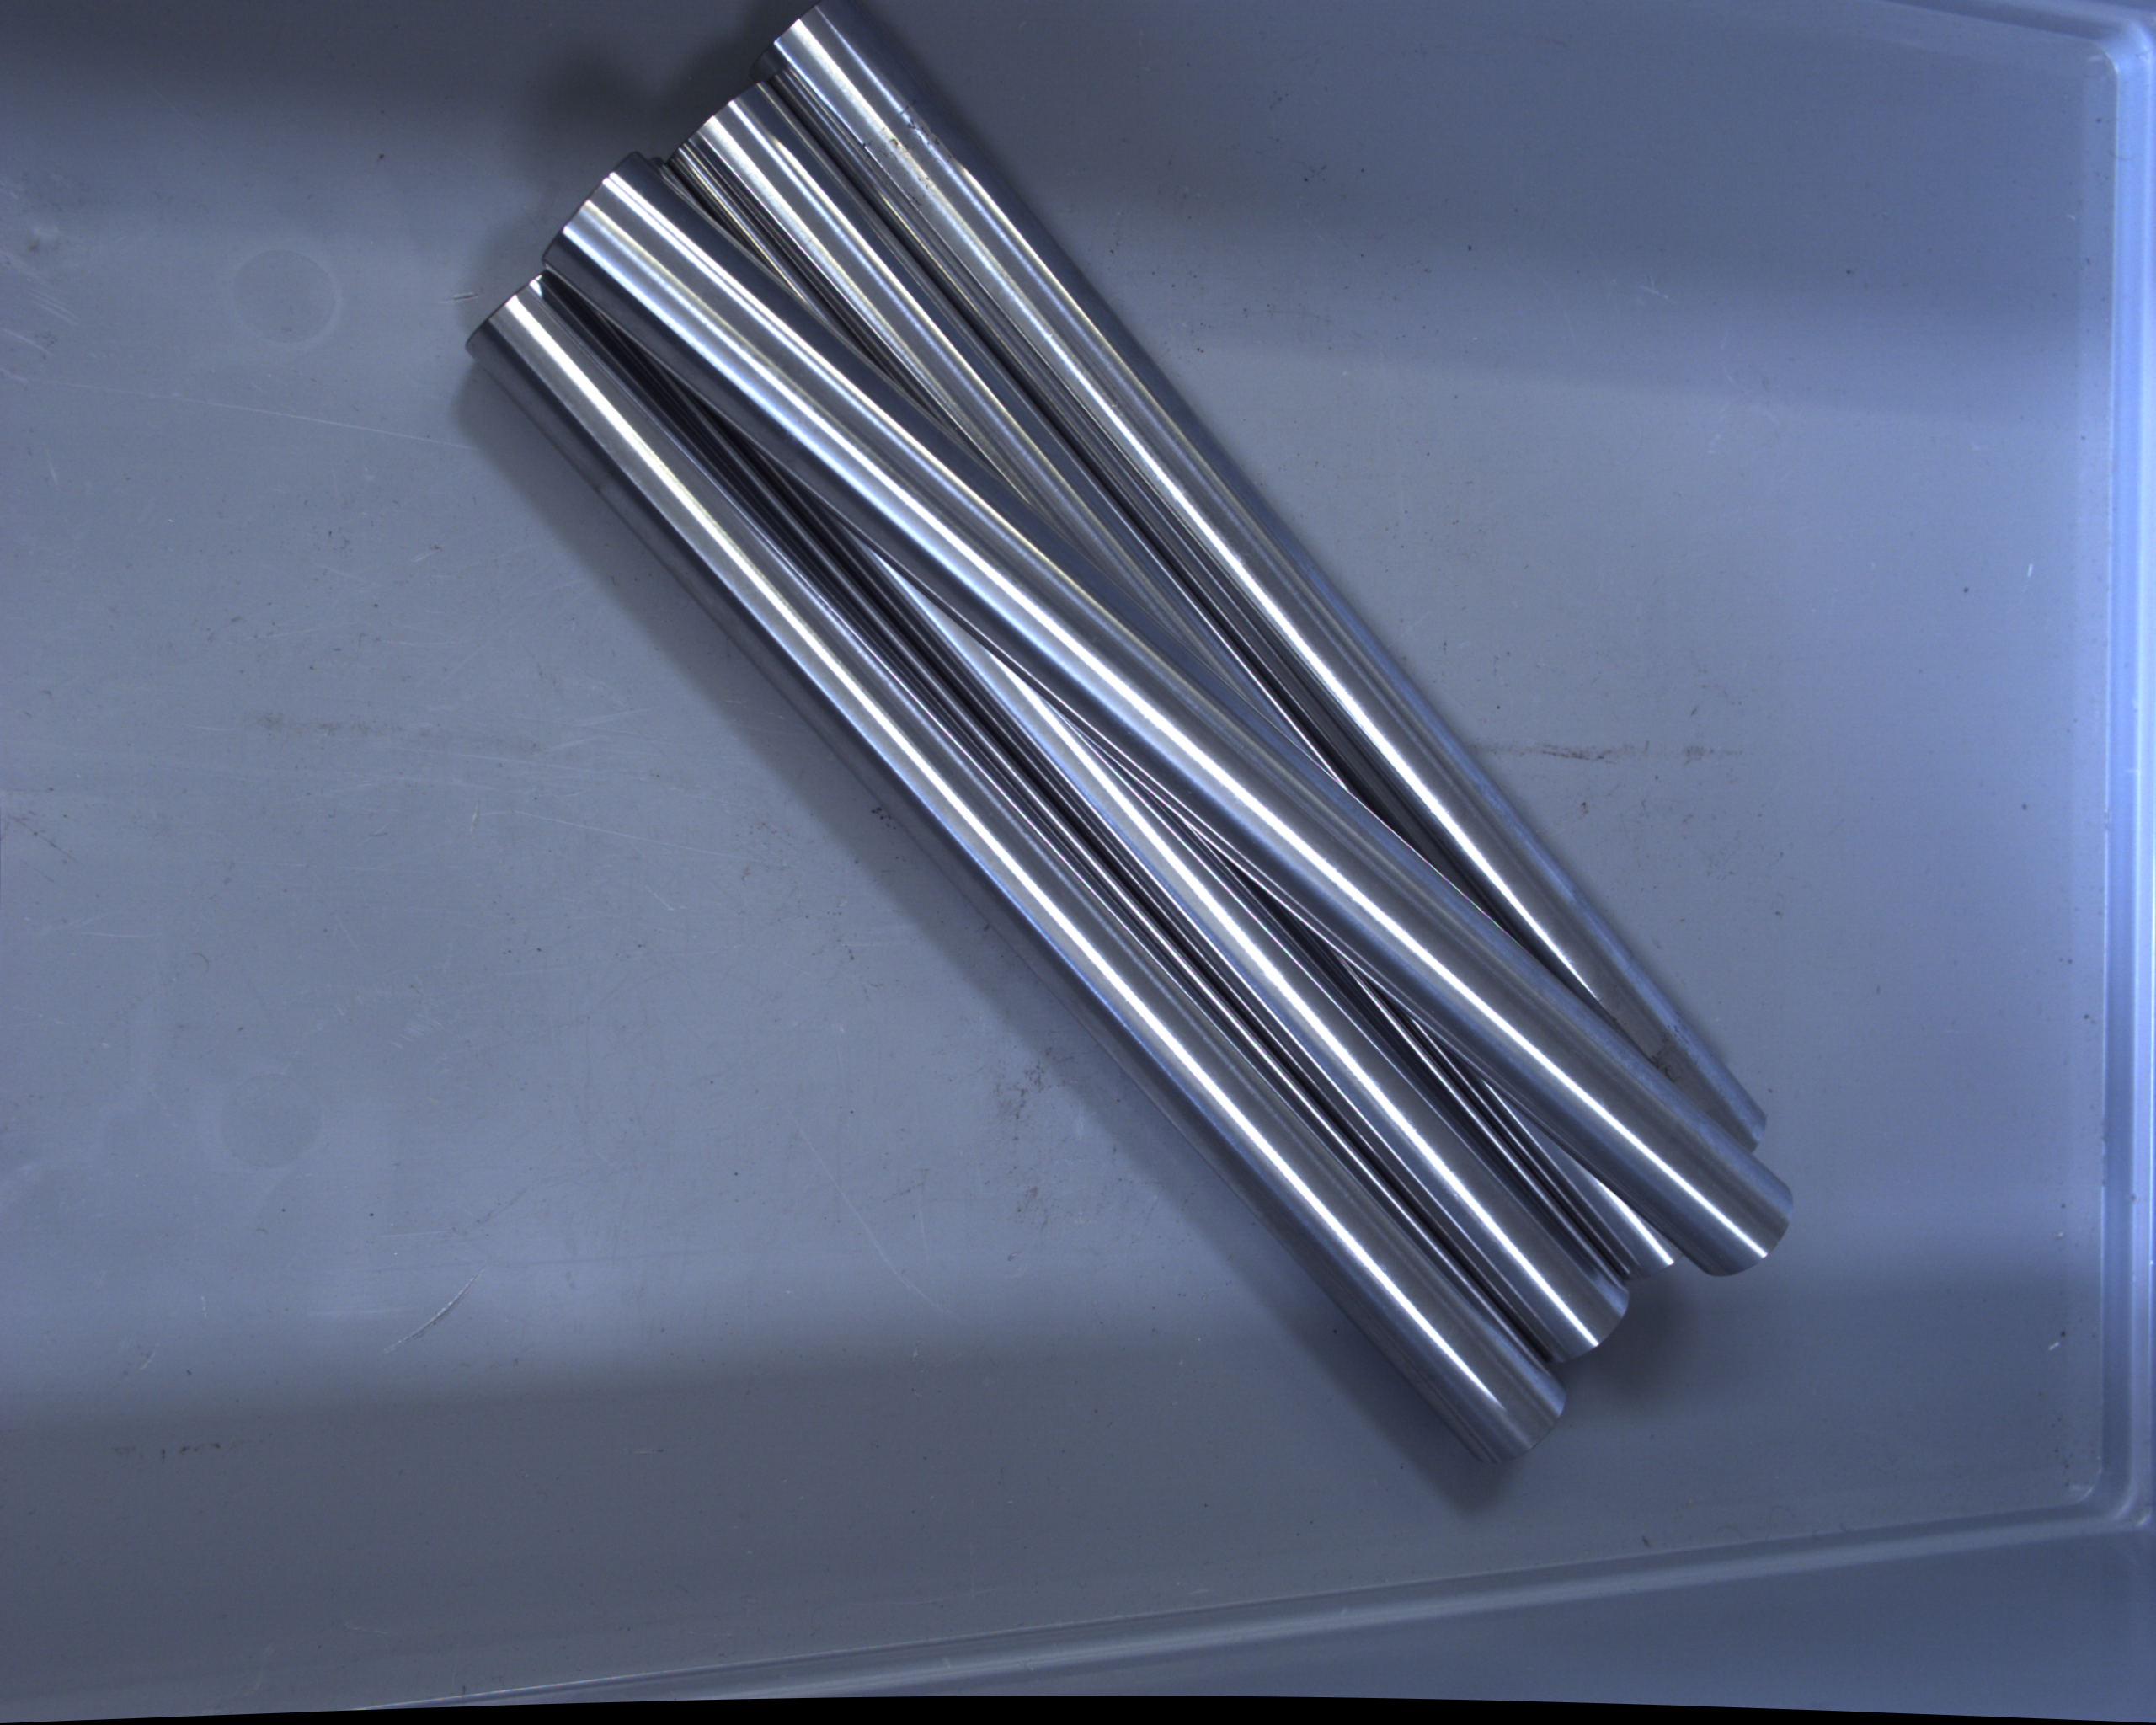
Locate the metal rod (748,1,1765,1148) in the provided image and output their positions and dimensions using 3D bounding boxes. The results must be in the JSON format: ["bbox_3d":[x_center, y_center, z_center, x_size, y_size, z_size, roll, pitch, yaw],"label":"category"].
[{"bbox_3d":[0.044,-0.046,0.425,0.025,0.025,0.300,-45,104,-14],"label":"metal rod"}]

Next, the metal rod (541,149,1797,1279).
[{"bbox_3d":[0.028,-0.017,0.392,0.300,0.025,0.025,40,77,-16],"label":"metal rod"}]

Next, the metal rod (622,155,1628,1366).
[{"bbox_3d":[0.011,-0.011,0.413,0.025,0.025,0.300,-45,104,-14],"label":"metal rod"}]

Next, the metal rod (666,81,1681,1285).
[{"bbox_3d":[0.029,-0.026,0.420,0.025,0.025,0.300,-45,104,-14],"label":"metal rod"}]

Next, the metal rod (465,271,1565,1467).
[{"bbox_3d":[-0.003,0.009,0.408,0.025,0.025,0.300,-45,104,-14],"label":"metal rod"}]
